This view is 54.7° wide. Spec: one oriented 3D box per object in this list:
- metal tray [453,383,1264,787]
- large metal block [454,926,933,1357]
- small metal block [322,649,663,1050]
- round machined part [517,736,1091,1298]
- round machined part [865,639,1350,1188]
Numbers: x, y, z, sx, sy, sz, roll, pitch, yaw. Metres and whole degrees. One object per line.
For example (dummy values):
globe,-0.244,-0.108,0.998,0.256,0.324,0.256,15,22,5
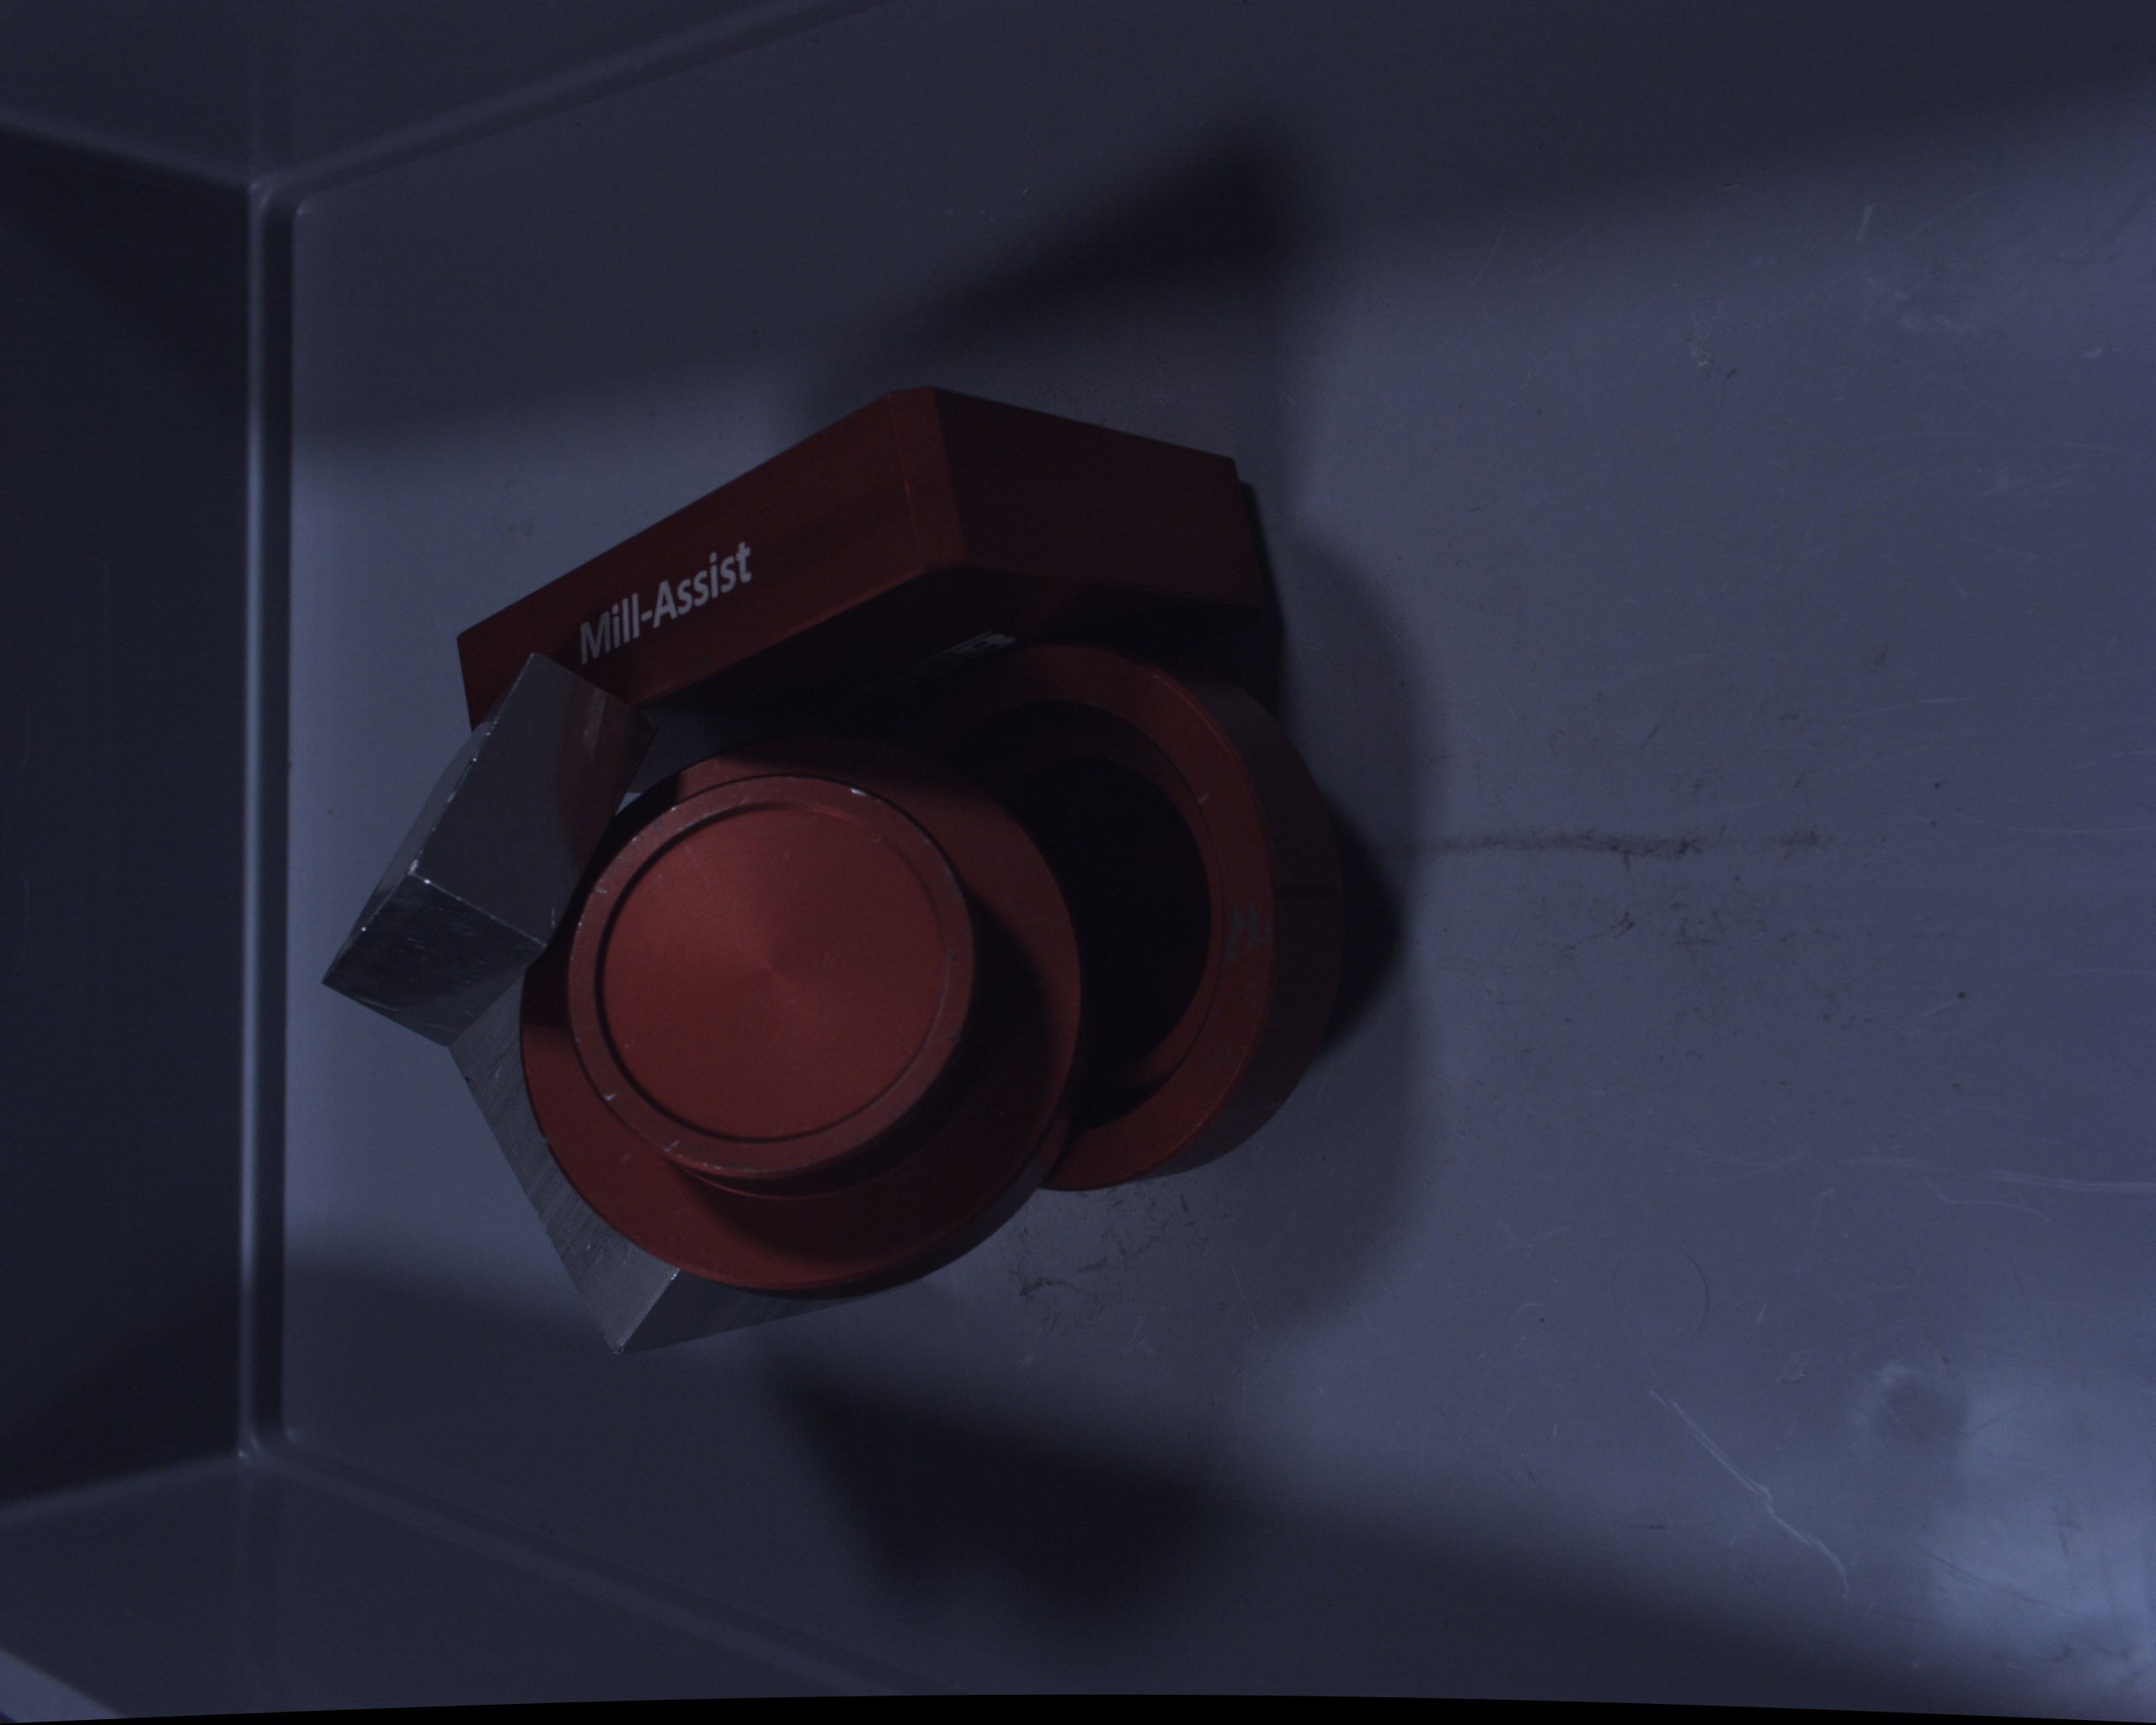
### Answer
metal tray,-0.043,-0.045,0.395,0.130,0.091,0.030,-19,79,38
large metal block,-0.067,0.045,0.423,0.050,0.081,0.080,-51,60,27
small metal block,-0.103,-0.002,0.367,0.050,0.025,0.050,-37,28,47
round machined part,-0.048,0.023,0.356,0.099,0.042,0.098,-1,72,4
round machined part,0.009,0.009,0.386,0.098,0.042,0.097,0,90,39
